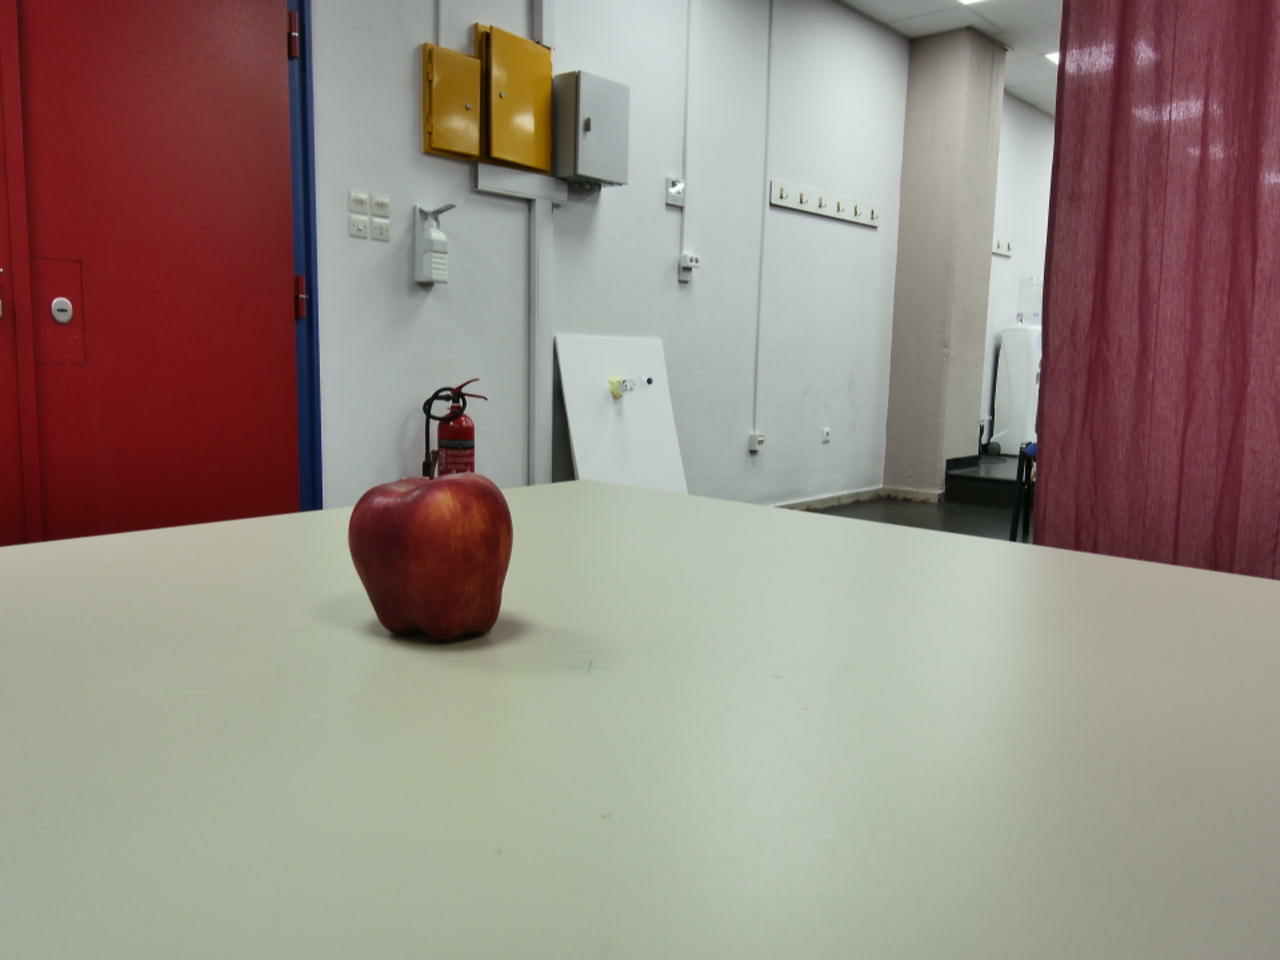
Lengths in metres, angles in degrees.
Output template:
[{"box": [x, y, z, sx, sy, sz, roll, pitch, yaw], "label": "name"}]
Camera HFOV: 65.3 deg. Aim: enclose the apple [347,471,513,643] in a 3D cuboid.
[{"box": [-0.103, 0.032, 0.499, 0.083, 0.090, 0.083, 2, 6, 0], "label": "apple"}]
